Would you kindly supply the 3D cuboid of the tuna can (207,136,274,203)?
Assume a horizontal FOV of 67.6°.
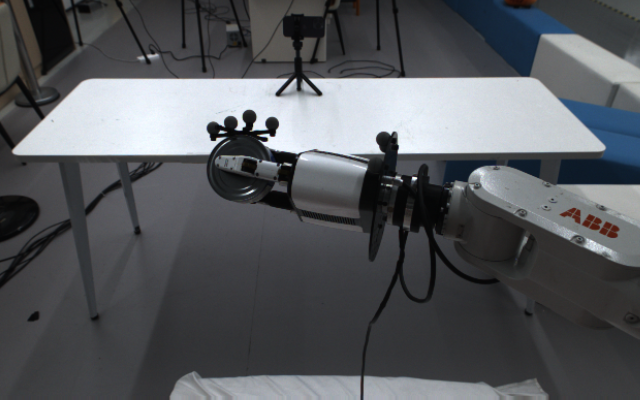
[{"bbox_3d":[-0.095,-0.038,0.624,0.085,0.085,0.034,10,-6,11],"label":"tuna can"}]
